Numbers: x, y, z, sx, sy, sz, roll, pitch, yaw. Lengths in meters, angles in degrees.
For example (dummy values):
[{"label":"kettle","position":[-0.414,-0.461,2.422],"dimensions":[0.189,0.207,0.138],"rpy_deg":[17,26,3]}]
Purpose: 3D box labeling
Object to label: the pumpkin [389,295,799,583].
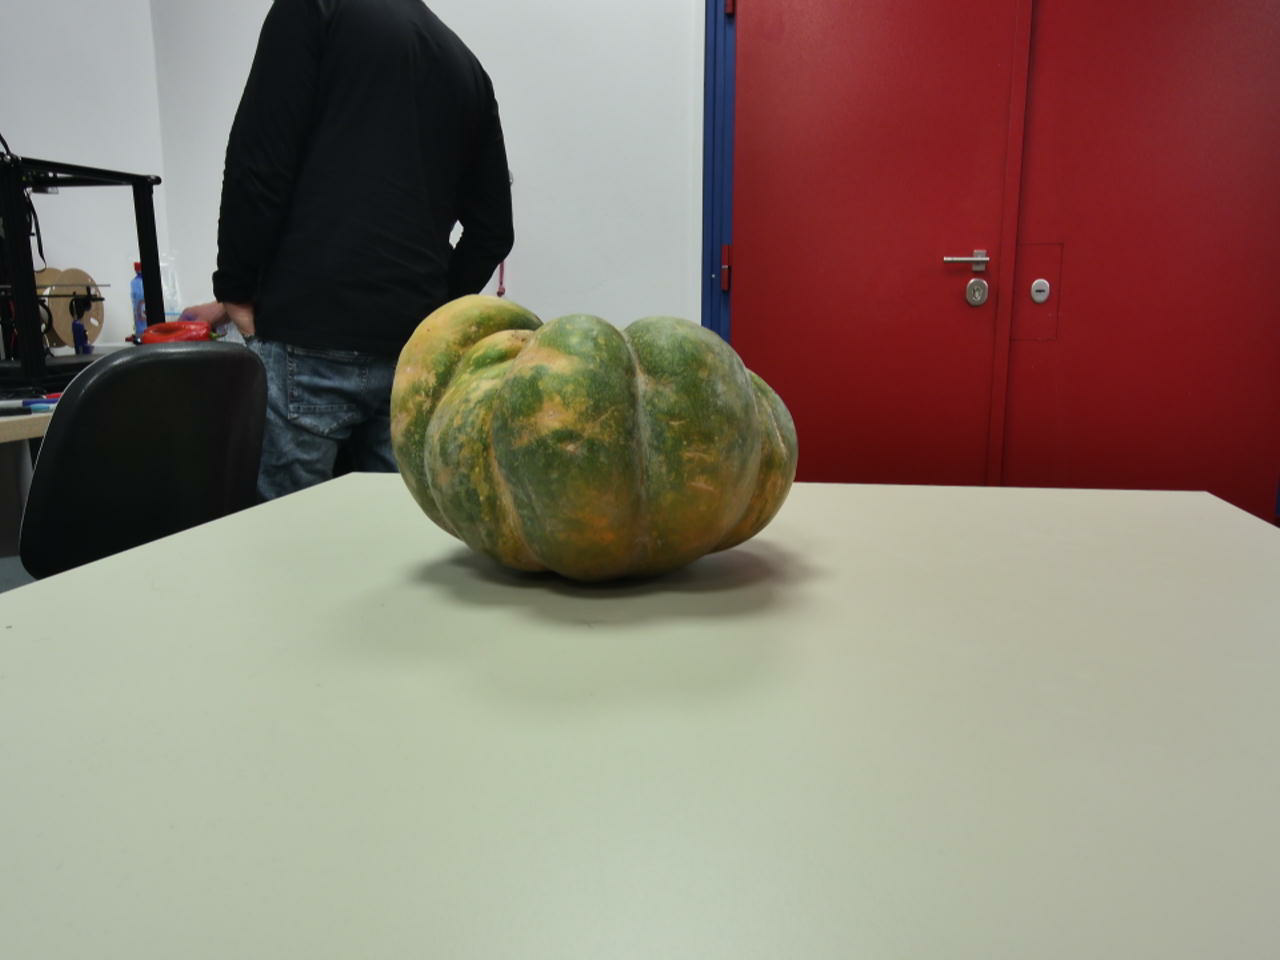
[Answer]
[{"label":"pumpkin","position":[-0.030,-0.030,0.645],"dimensions":[0.237,0.173,0.270],"rpy_deg":[-7,10,-41]}]
